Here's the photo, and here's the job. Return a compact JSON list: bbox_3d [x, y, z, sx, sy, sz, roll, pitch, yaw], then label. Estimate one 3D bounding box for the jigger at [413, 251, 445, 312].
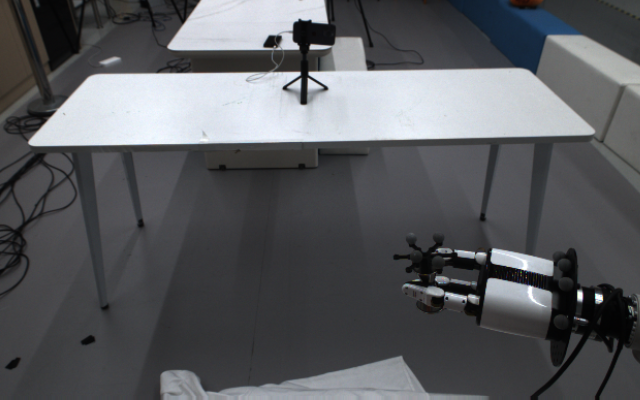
[{"bbox_3d":[0.160,0.123,0.711,0.043,0.071,0.043,-11,23,5],"label":"jigger"}]
